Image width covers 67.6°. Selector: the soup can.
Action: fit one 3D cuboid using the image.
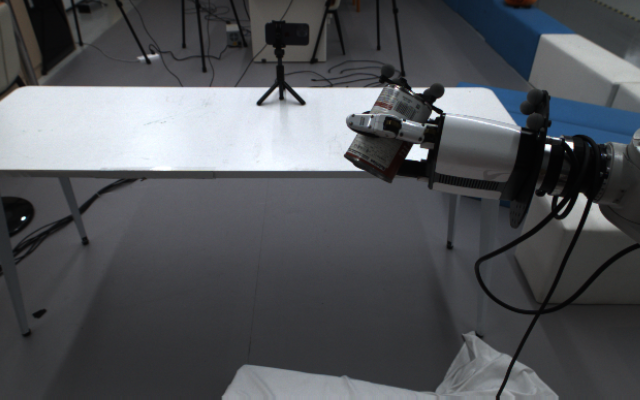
[{"bbox_3d":[0.083,-0.082,0.593,0.067,0.101,0.067,30,1,-1],"label":"soup can"}]
